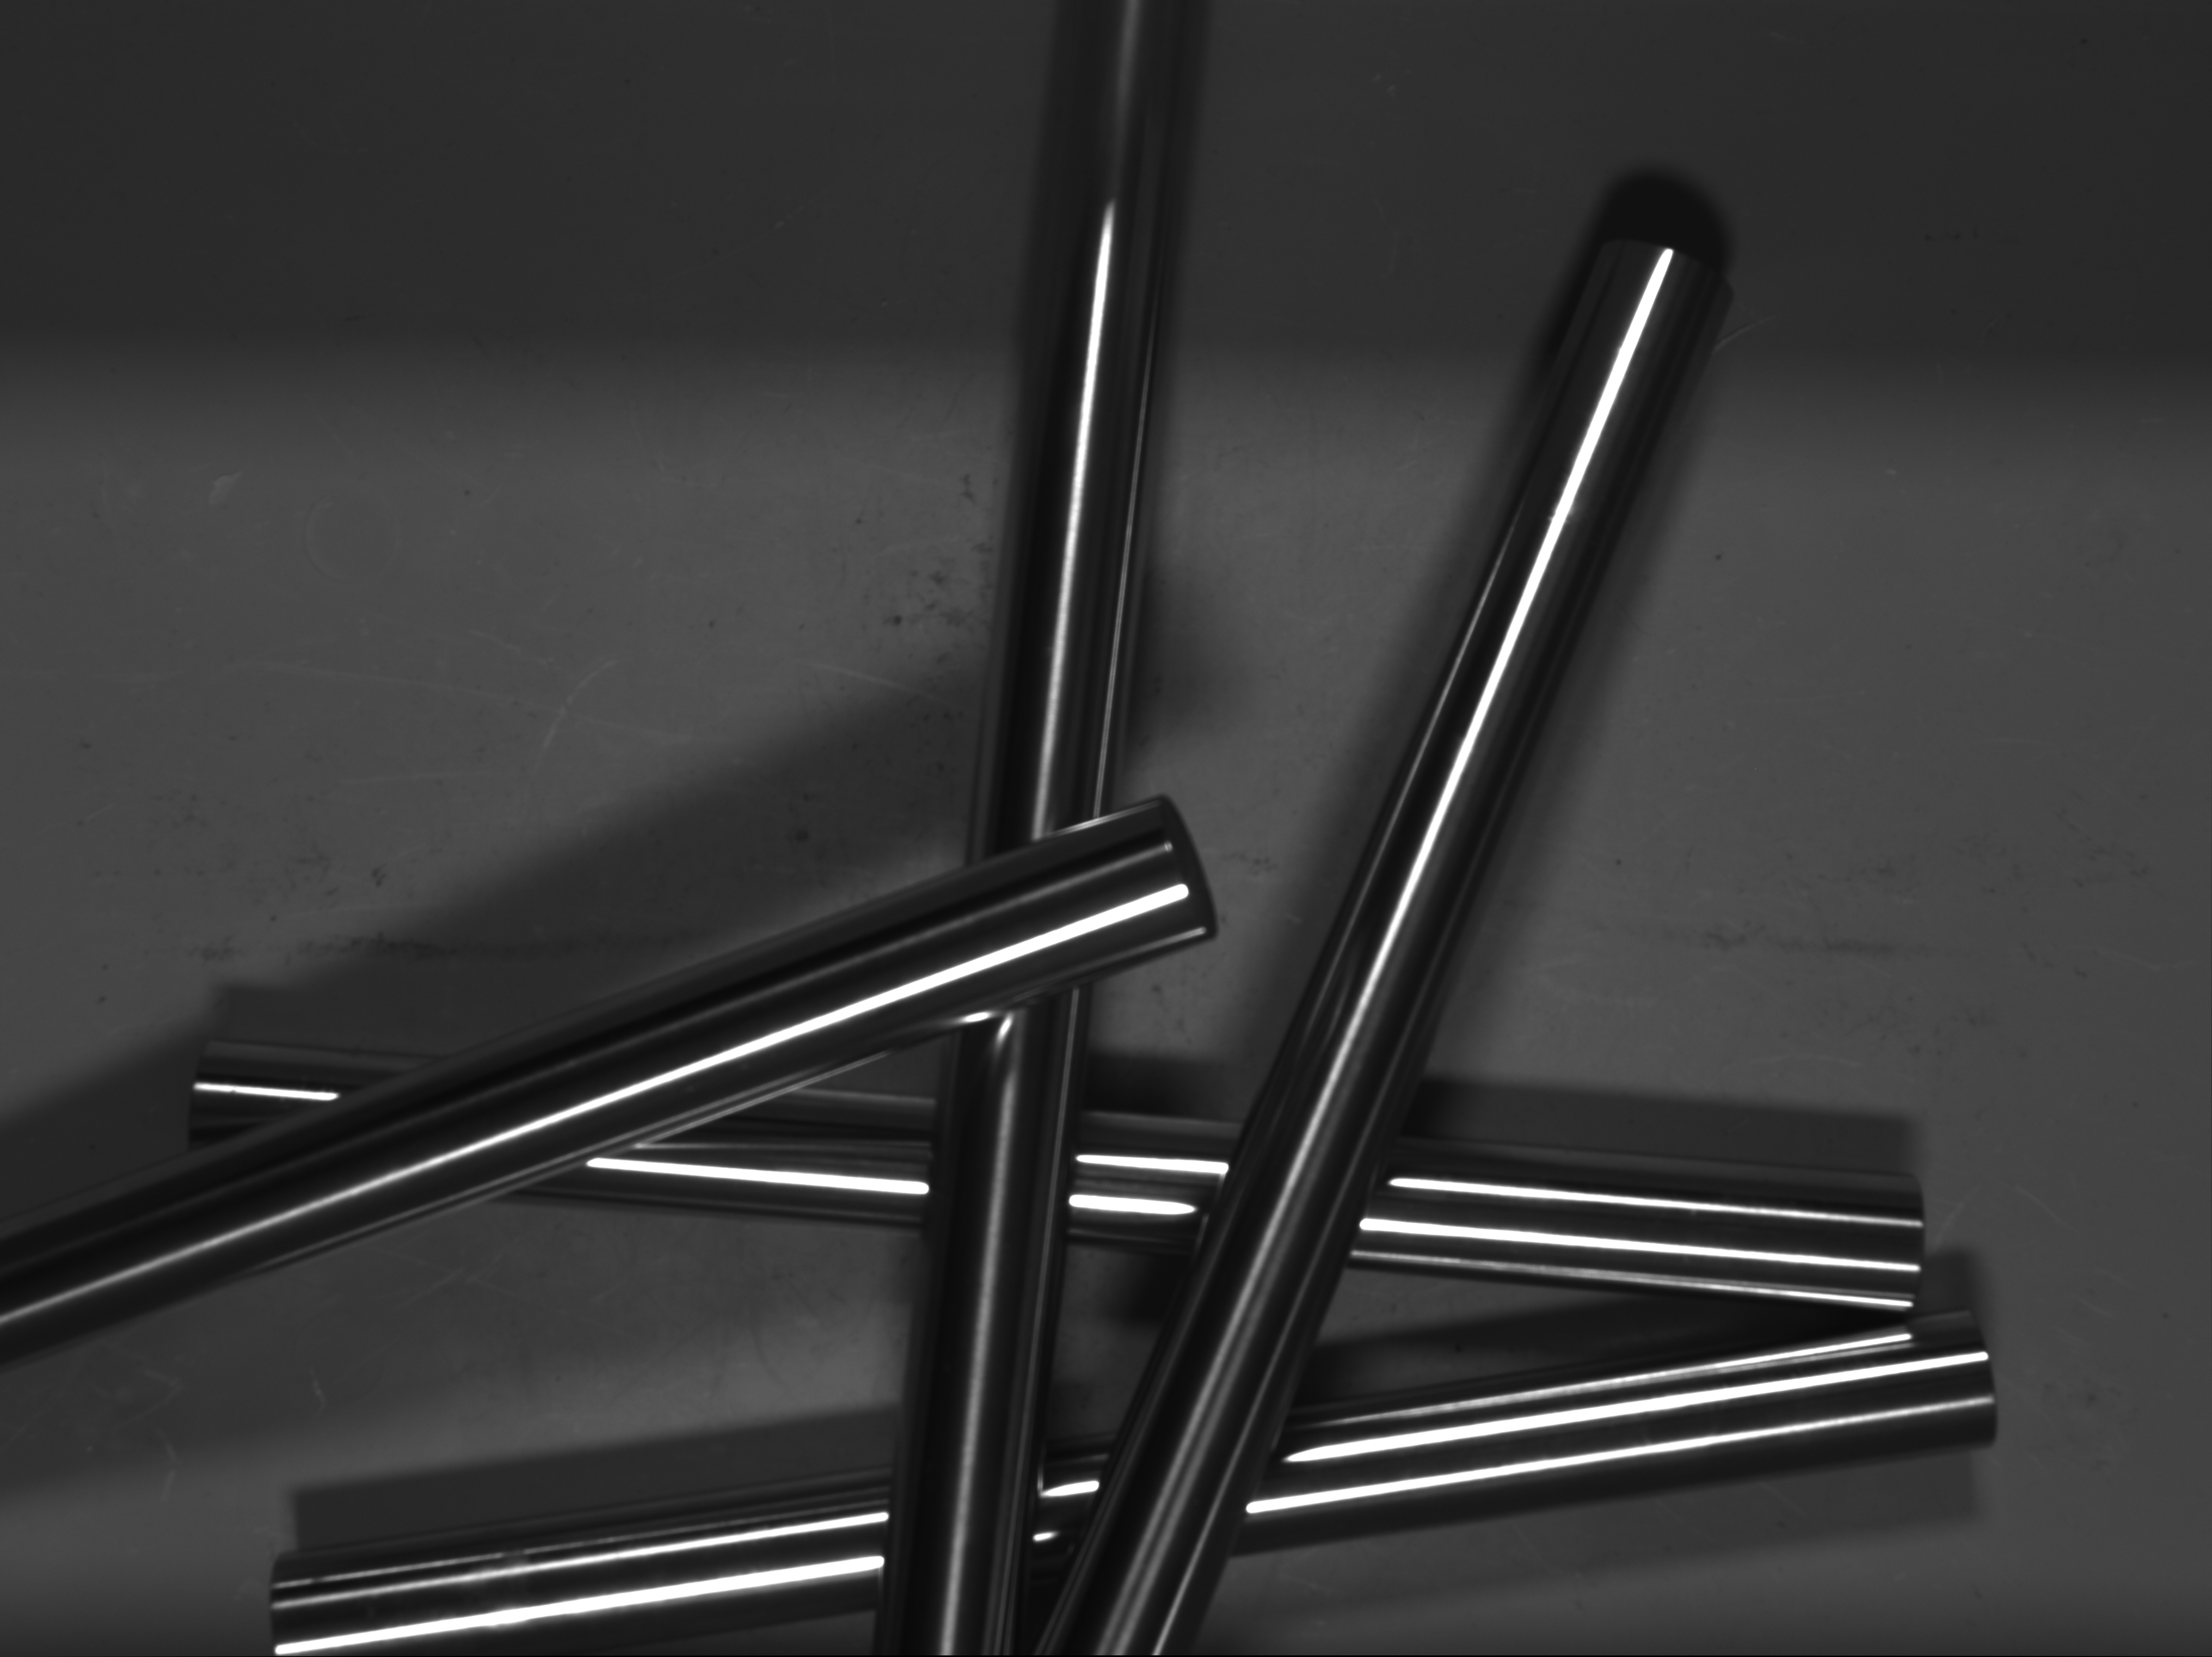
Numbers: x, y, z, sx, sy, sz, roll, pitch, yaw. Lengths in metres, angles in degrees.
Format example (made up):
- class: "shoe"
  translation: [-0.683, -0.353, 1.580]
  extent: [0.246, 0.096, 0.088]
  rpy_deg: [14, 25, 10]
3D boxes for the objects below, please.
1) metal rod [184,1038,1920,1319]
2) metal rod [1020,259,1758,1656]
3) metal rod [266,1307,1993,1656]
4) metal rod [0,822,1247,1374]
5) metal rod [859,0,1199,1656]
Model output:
- class: "metal rod"
  translation: [-0.009, 0.062, 0.644]
  extent: [0.300, 0.025, 0.025]
  rpy_deg: [5, 90, -1]
- class: "metal rod"
  translation: [0.042, 0.041, 0.624]
  extent: [0.025, 0.025, 0.300]
  rpy_deg: [24, 82, 0]
- class: "metal rod"
  translation: [0.004, 0.119, 0.644]
  extent: [0.300, 0.025, 0.025]
  rpy_deg: [-8, 90, -1]
- class: "metal rod"
  translation: [-0.122, 0.058, 0.618]
  extent: [0.300, 0.025, 0.025]
  rpy_deg: [-18, 90, 5]
- class: "metal rod"
  translation: [-0.012, -0.008, 0.627]
  extent: [0.025, 0.025, 0.300]
  rpy_deg: [7, 84, 0]
